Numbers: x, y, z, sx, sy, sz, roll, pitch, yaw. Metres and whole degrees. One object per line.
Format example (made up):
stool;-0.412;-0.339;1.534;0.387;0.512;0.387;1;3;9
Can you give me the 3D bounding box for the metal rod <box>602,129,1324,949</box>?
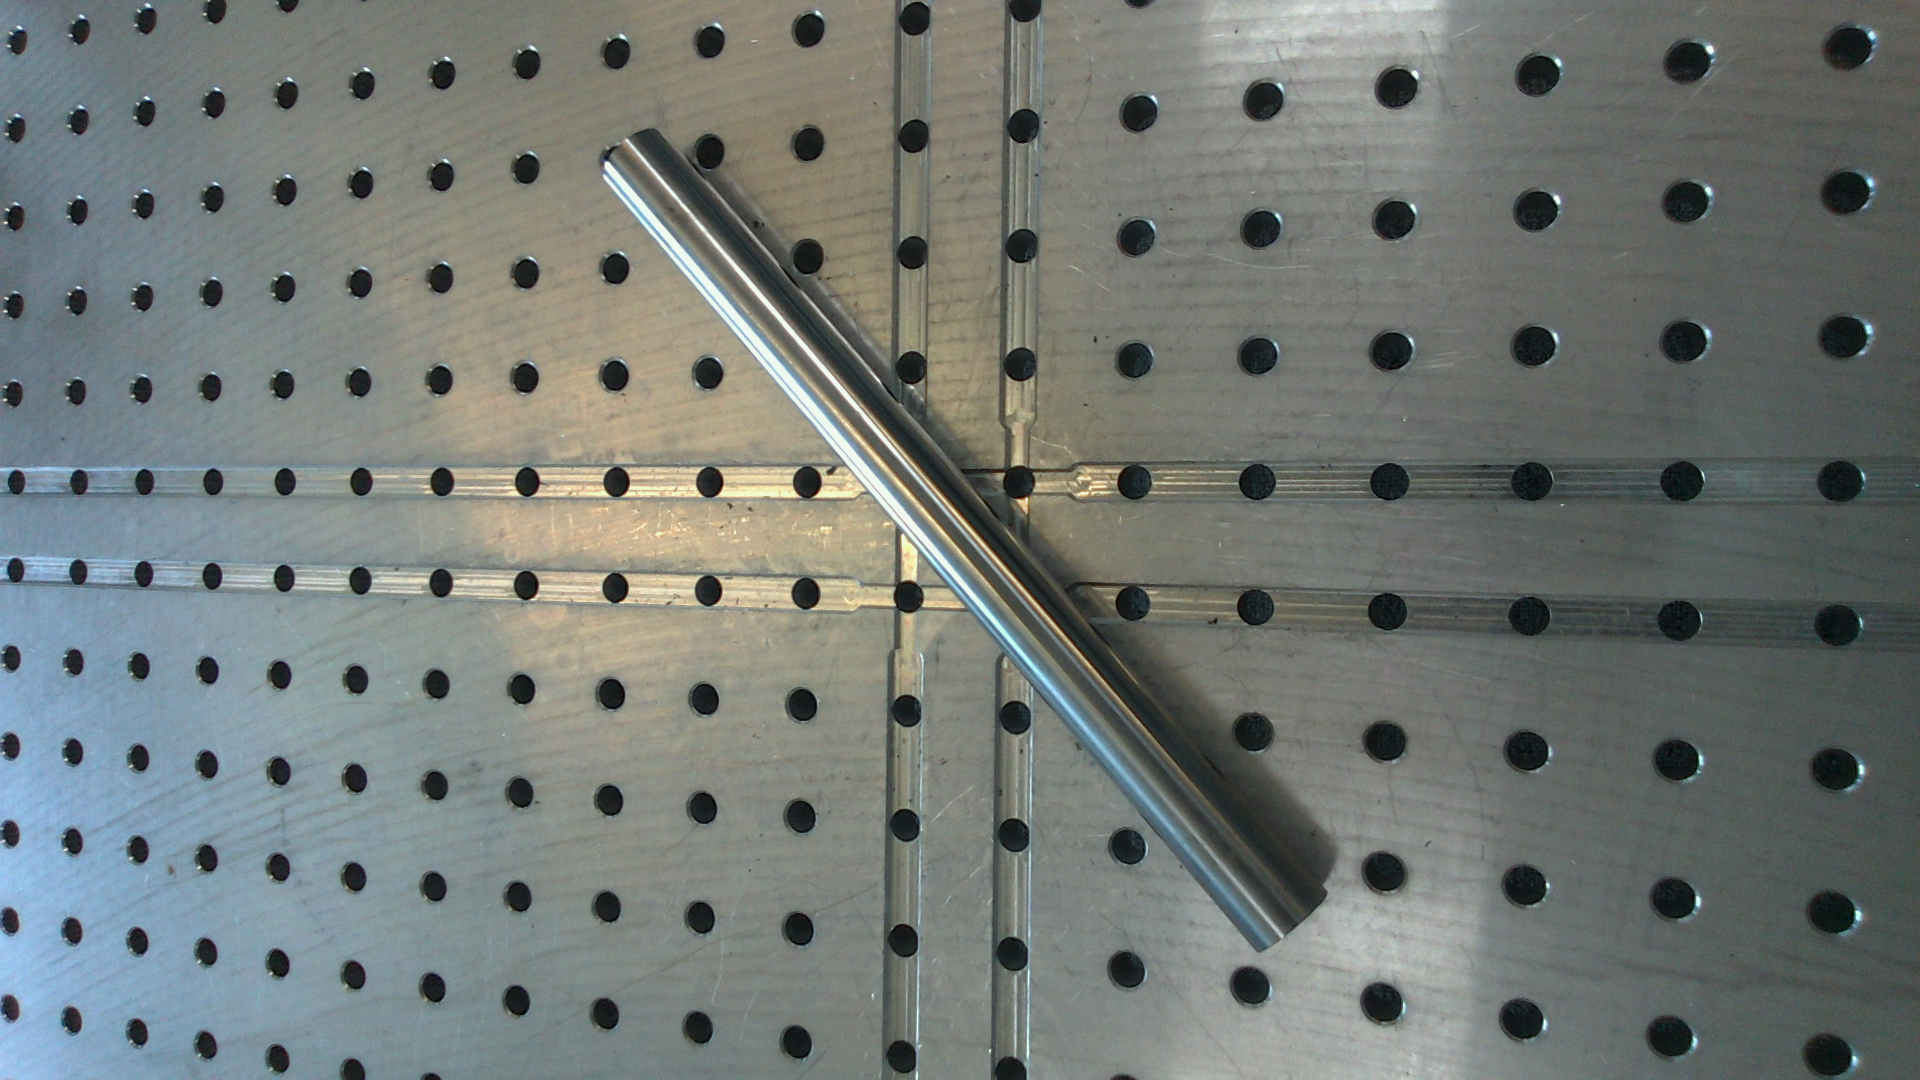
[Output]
metal rod;-0.007;-0.010;0.401;0.025;0.025;0.300;-44;76;15
